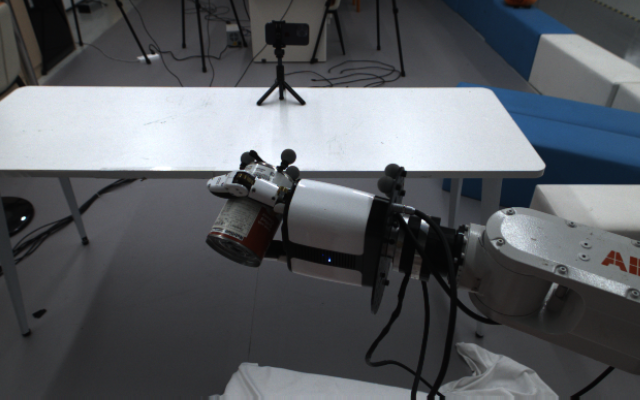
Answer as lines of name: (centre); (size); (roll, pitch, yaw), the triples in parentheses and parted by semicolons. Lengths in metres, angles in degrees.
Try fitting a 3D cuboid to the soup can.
soup can: (-0.077, 0.014, 0.551); (0.067, 0.067, 0.101); (15, 63, 18)
